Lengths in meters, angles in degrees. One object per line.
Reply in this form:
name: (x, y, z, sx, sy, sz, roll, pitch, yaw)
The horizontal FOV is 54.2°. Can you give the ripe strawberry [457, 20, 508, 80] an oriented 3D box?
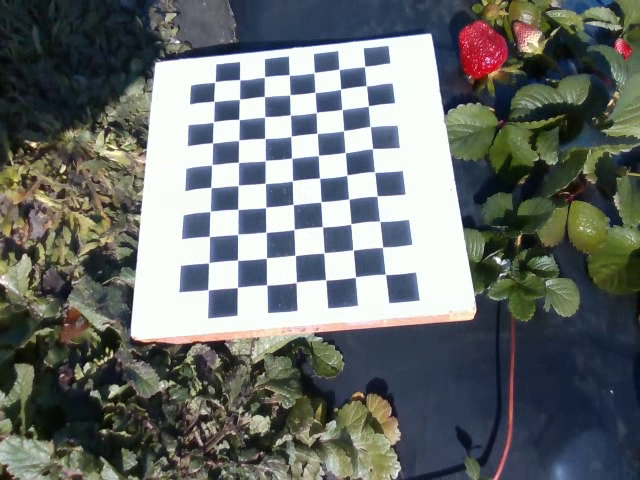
ripe strawberry: (0.148, -0.182, 0.590, 0.058, 0.066, 0.062, 24, -22, 47)
